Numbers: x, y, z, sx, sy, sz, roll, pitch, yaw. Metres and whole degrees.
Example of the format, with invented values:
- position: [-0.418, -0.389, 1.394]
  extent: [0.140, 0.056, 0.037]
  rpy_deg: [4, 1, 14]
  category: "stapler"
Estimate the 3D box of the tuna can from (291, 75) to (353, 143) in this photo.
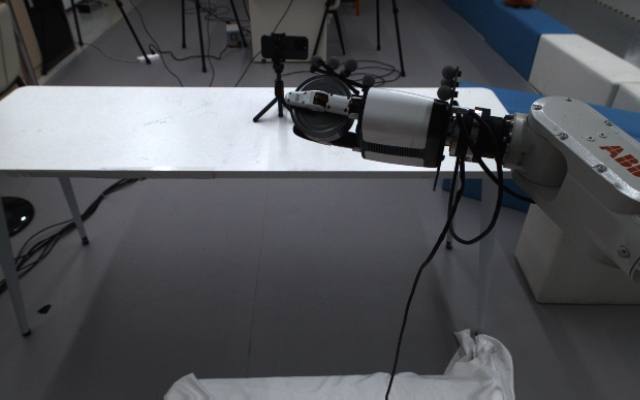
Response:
- position: [0.006, -0.124, 0.655]
  extent: [0.085, 0.085, 0.034]
  rpy_deg: [13, -6, 16]
  category: "tuna can"
